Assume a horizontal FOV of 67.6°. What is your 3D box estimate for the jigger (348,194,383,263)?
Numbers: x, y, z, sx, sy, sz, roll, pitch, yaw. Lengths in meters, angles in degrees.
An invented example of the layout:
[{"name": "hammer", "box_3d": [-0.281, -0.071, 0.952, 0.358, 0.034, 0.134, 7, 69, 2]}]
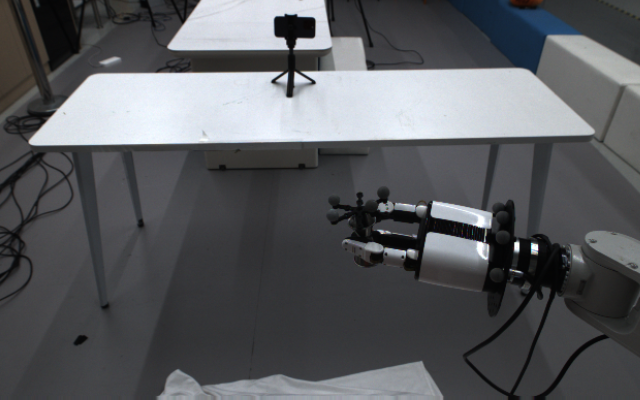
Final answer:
[{"name": "jigger", "box_3d": [0.065, 0.056, 0.692, 0.043, 0.071, 0.043, -10, 32, 6]}]
